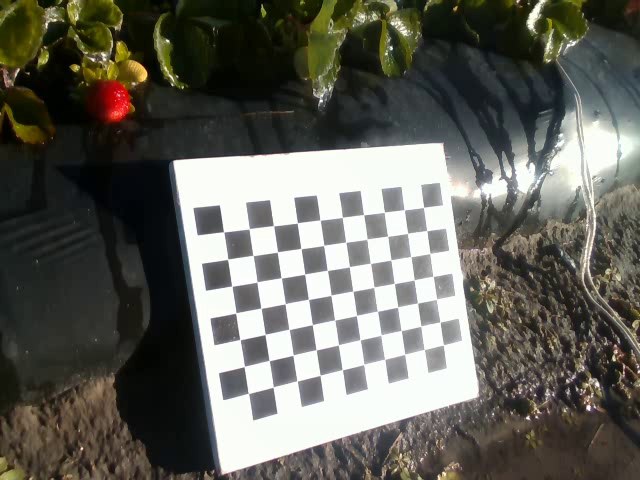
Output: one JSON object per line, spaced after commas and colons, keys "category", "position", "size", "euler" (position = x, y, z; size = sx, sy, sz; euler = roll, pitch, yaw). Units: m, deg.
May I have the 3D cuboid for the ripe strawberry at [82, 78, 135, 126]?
{"category": "ripe strawberry", "position": [-0.134, -0.086, 0.429], "size": [0.039, 0.040, 0.039], "euler": [-18, 29, -17]}
